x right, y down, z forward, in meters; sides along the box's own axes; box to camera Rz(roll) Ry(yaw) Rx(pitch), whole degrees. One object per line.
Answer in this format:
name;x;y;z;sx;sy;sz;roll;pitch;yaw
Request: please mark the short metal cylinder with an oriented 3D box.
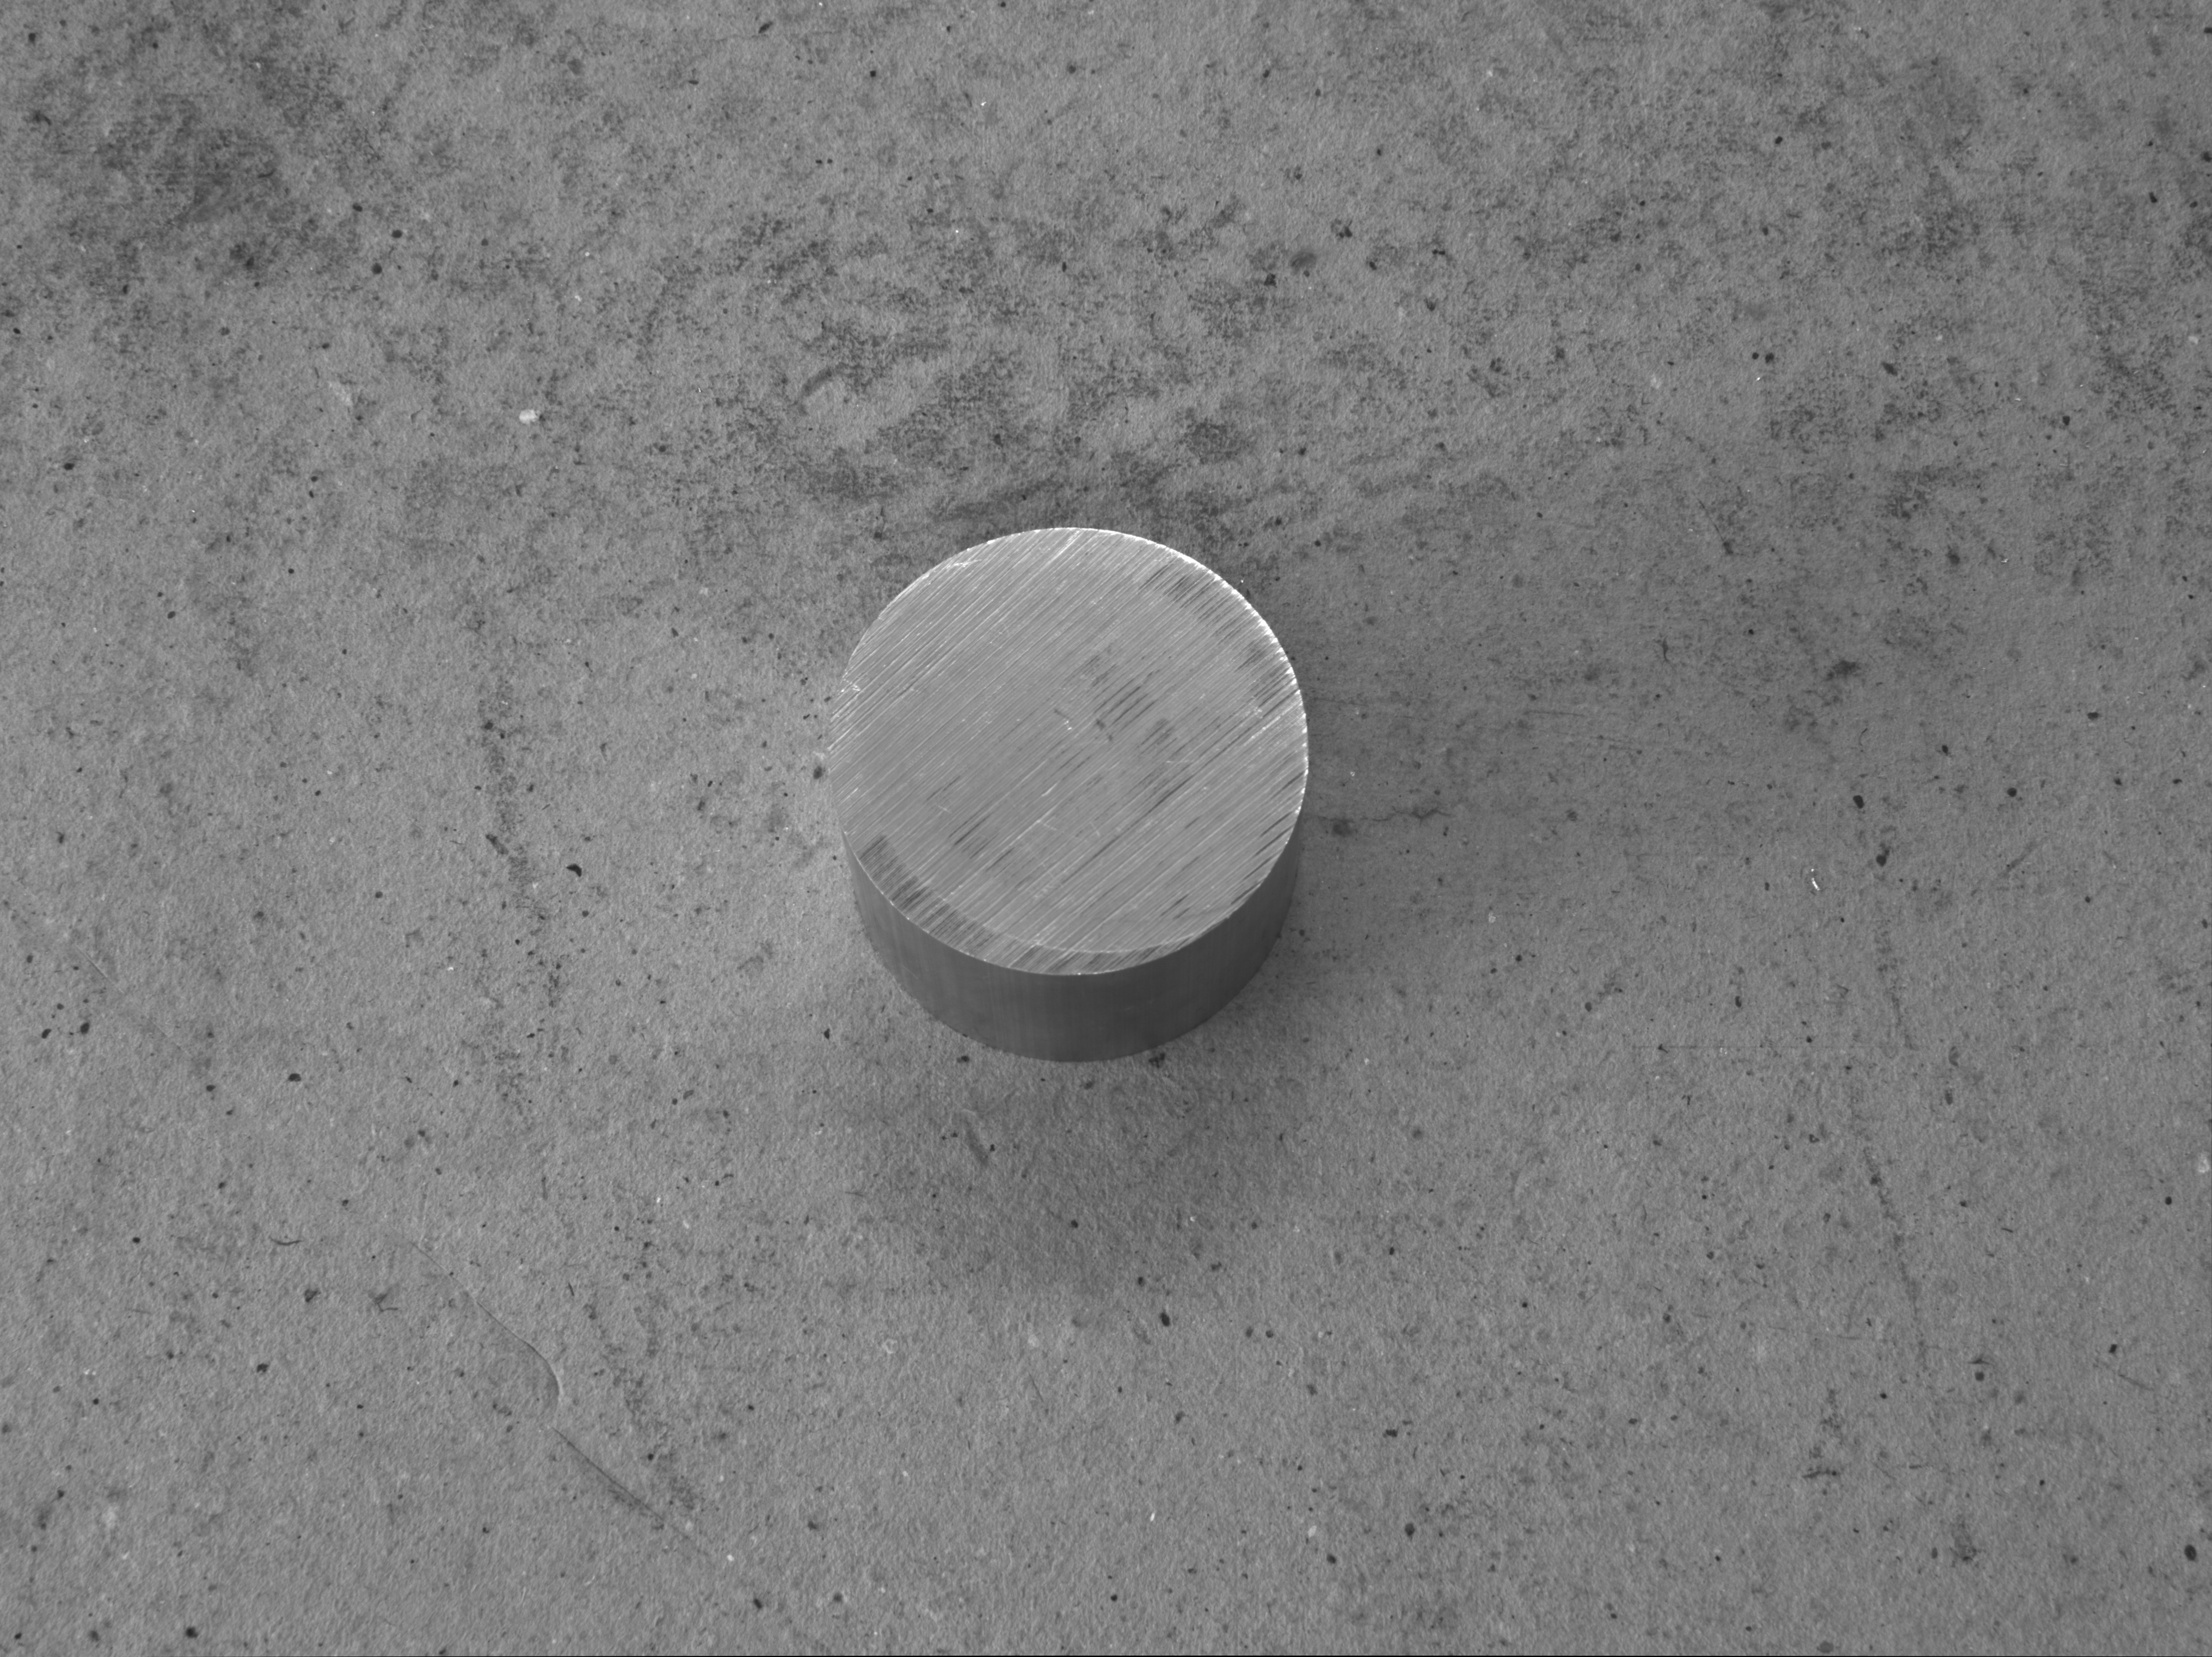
short metal cylinder;-0.006;-0.005;0.634;0.080;0.050;0.080;0;70;-1
